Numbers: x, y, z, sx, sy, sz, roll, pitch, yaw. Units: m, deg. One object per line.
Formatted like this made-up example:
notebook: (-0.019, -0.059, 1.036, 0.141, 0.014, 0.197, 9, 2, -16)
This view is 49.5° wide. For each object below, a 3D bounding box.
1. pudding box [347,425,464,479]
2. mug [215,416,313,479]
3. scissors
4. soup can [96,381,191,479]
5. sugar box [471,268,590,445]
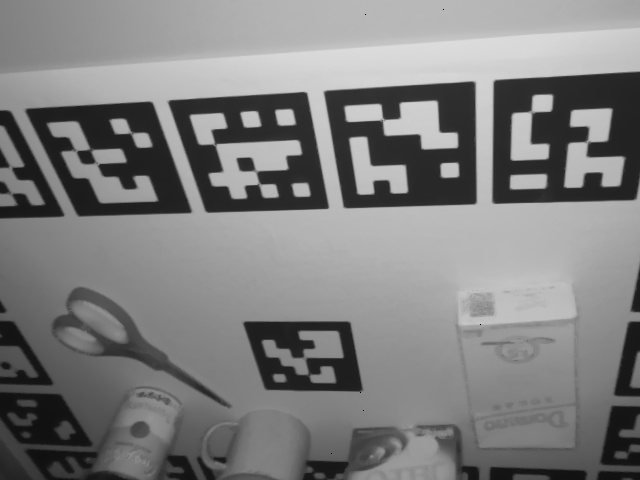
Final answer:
pudding box: (0.085, 0.233, 0.688, 0.113, 0.091, 0.038, -10, 117, 17)
mug: (-0.060, 0.234, 0.721, 0.092, 0.082, 0.117, -36, 114, 27)
scissors: (-0.165, 0.109, 0.686, 0.203, 0.016, 0.086, 38, 113, -16)
soup can: (-0.179, 0.207, 0.717, 0.068, 0.103, 0.067, 4, 127, 6)
sugar box: (0.189, 0.110, 0.619, 0.092, 0.046, 0.175, -6, 123, 11)
